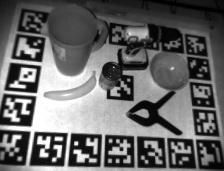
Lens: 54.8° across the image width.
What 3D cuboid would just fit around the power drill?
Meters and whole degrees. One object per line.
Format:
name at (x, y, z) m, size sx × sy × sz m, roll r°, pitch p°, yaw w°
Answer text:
power drill at (0.117, -0.163, 0.748) m, size 0.185 × 0.186 × 0.057 m, roll 1°, pitch 71°, yaw -12°

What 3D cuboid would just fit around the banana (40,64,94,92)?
banana at (-0.144, -0.018, 0.746) m, size 0.199 × 0.039 × 0.074 m, roll -19°, pitch 68°, yaw -19°

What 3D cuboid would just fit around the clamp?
clamp at (0.141, 0.073, 0.769) m, size 0.204 × 0.036 × 0.165 m, roll 4°, pitch 75°, yaw -11°

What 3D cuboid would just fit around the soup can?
soup can at (-0.014, -0.063, 0.754) m, size 0.068 × 0.102 × 0.067 m, roll 5°, pitch 62°, yaw -9°

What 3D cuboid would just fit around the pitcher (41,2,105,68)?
pitcher at (-0.118, -0.156, 0.686) m, size 0.190 × 0.242 × 0.132 m, roll -18°, pitch 73°, yaw -16°

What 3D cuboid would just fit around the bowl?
bowl at (0.207, -0.071, 0.827) m, size 0.162 × 0.055 × 0.161 m, roll 3°, pitch 73°, yaw -10°
